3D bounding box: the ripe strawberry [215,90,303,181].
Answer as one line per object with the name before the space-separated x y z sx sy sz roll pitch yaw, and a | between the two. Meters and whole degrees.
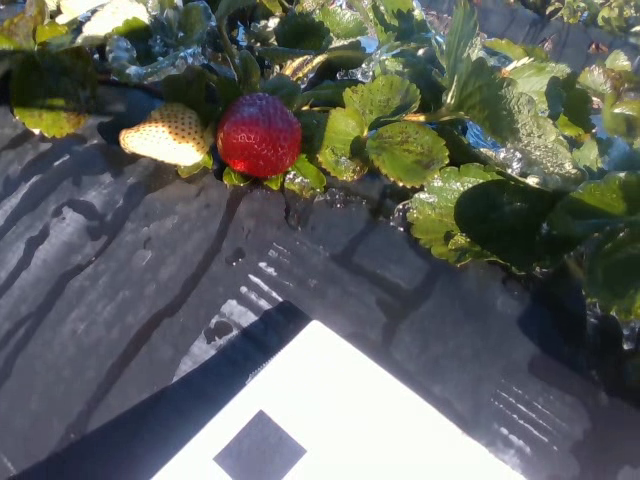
ripe strawberry | -0.033 -0.047 0.294 0.043 0.046 0.061 21 15 18
